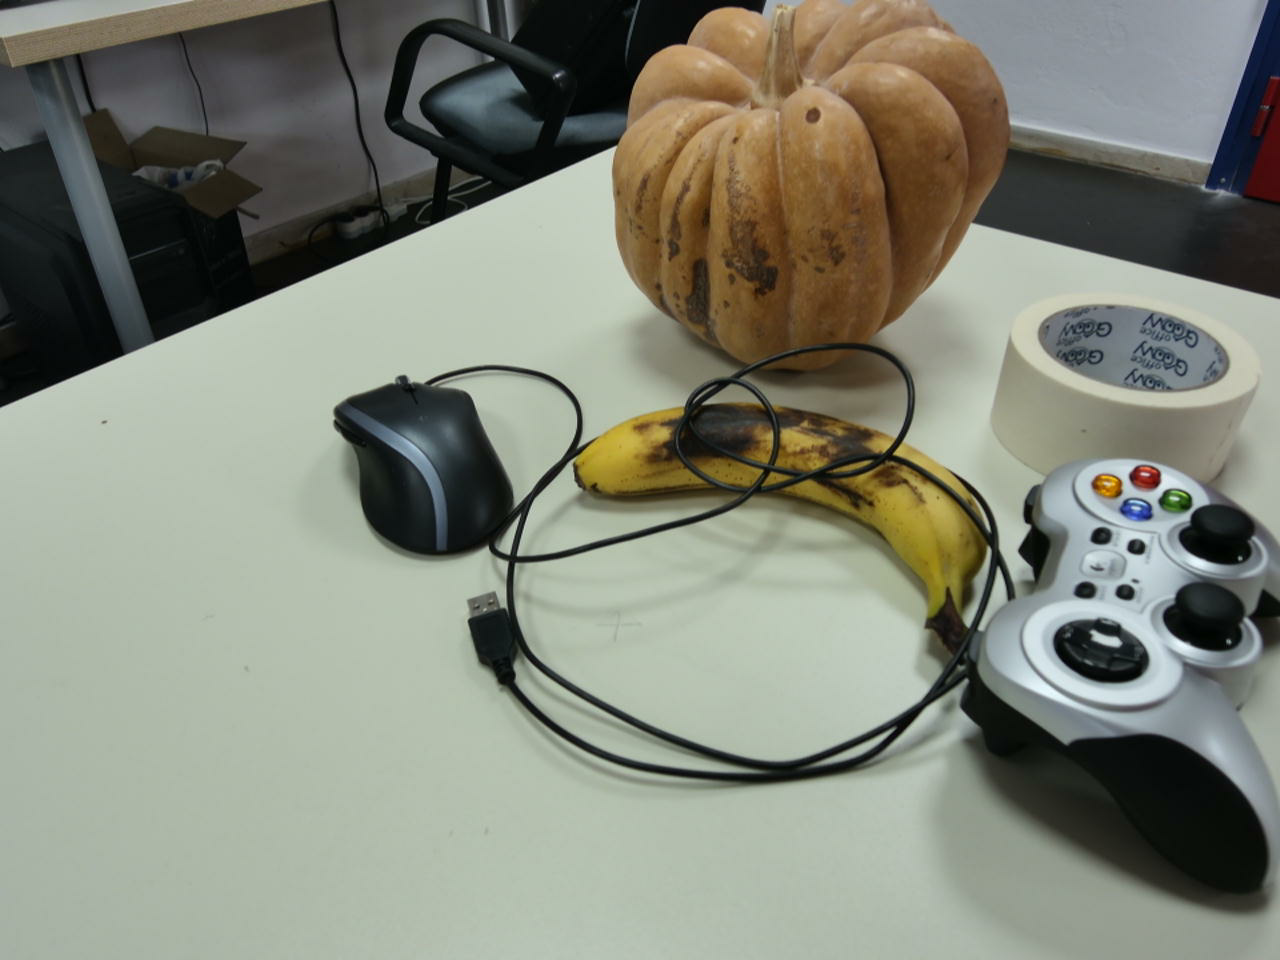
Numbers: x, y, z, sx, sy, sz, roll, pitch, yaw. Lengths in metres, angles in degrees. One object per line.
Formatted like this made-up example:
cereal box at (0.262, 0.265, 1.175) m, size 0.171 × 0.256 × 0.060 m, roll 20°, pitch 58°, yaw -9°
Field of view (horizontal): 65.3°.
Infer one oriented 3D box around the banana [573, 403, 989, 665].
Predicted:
banana at (0.068, 0.004, 0.426) m, size 0.187 × 0.039 × 0.094 m, roll 25°, pitch 43°, yaw 31°
